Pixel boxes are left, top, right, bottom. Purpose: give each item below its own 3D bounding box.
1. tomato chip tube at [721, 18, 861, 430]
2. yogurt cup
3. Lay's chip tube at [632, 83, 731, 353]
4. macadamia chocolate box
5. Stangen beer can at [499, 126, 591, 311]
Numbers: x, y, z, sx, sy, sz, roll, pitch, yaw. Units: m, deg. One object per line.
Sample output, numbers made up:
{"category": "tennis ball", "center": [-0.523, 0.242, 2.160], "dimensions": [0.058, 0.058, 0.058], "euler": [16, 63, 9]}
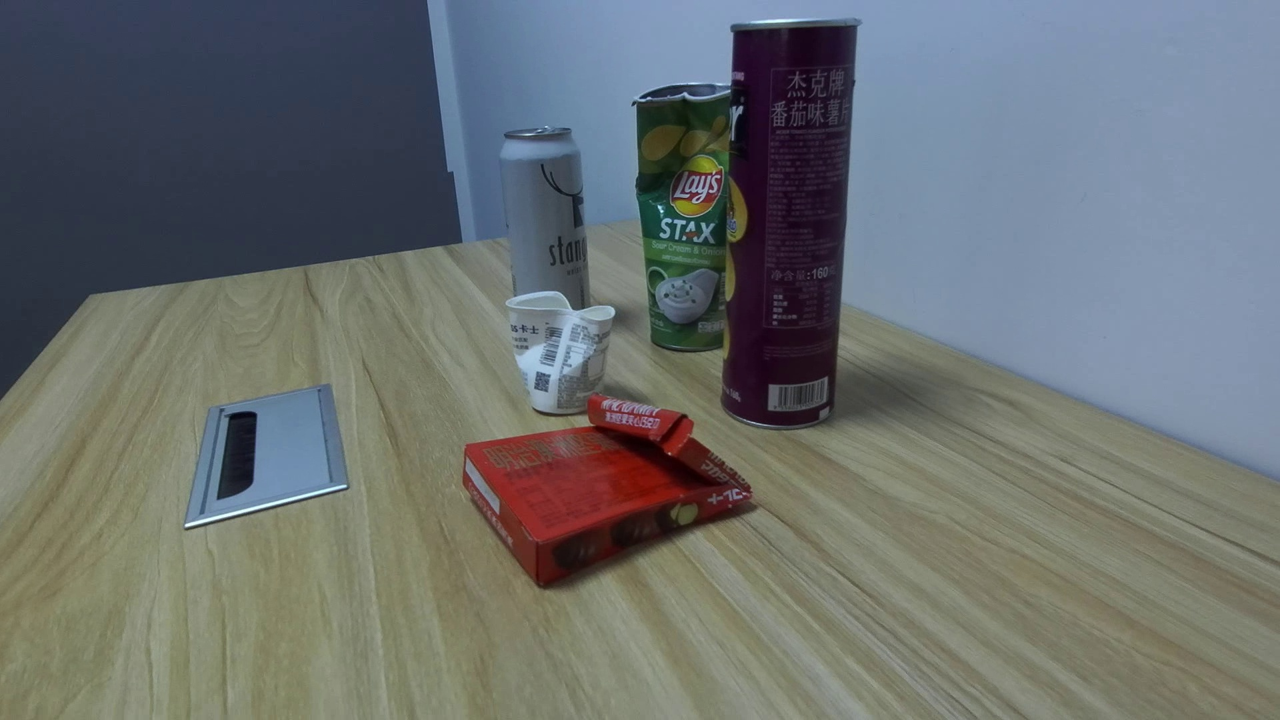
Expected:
{"category": "tomato chip tube", "center": [0.089, -0.077, 0.430], "dimensions": [0.076, 0.234, 0.080], "euler": [11, 26, 29]}
{"category": "yogurt cup", "center": [-0.052, -0.006, 0.480], "dimensions": [0.075, 0.071, 0.053], "euler": [-1, 25, 5]}
{"category": "Lay's chip tube", "center": [0.040, -0.109, 0.556], "dimensions": [0.077, 0.201, 0.069], "euler": [-7, 21, -7]}
{"category": "macadamia chocolate box", "center": [-0.023, 0.059, 0.381], "dimensions": [0.127, 0.056, 0.111], "euler": [-19, 13, -26]}
{"category": "Stangen beer can", "center": [-0.078, -0.105, 0.599], "dimensions": [0.067, 0.171, 0.067], "euler": [-2, 20, 1]}
